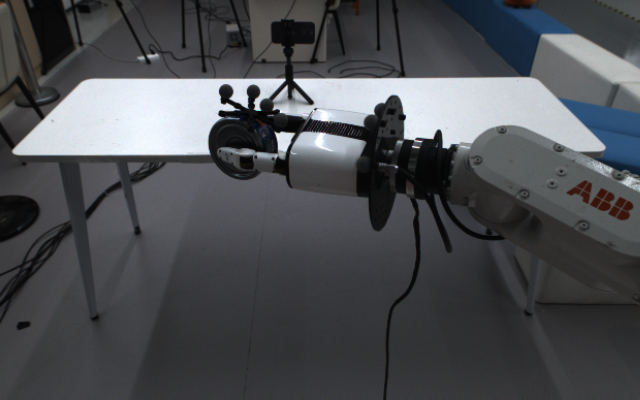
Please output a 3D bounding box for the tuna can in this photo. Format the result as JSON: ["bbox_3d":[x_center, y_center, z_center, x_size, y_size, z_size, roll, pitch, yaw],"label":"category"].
[{"bbox_3d":[-0.096,-0.063,0.621,0.085,0.085,0.034,15,31,18],"label":"tuna can"}]
